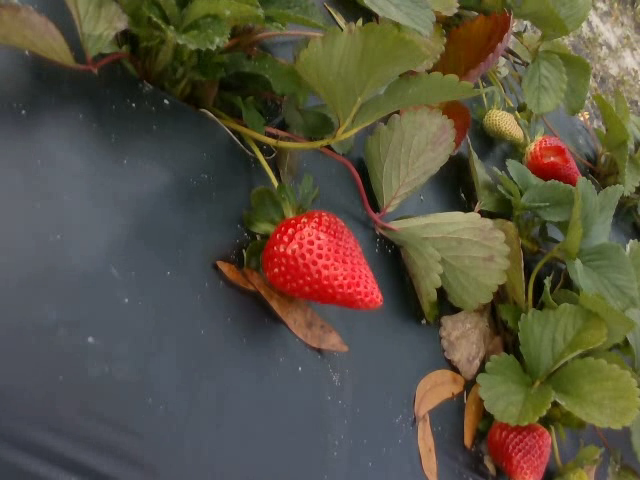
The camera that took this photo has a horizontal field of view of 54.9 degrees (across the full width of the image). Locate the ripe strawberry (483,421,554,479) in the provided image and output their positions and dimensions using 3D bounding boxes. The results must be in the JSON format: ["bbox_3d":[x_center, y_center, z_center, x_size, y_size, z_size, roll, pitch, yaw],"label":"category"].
[{"bbox_3d":[0.109,0.116,0.320,0.037,0.041,0.042,-30,19,21],"label":"ripe strawberry"}]

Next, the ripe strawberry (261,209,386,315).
[{"bbox_3d":[0.005,0.015,0.268,0.065,0.047,0.043,34,-16,31],"label":"ripe strawberry"}]
